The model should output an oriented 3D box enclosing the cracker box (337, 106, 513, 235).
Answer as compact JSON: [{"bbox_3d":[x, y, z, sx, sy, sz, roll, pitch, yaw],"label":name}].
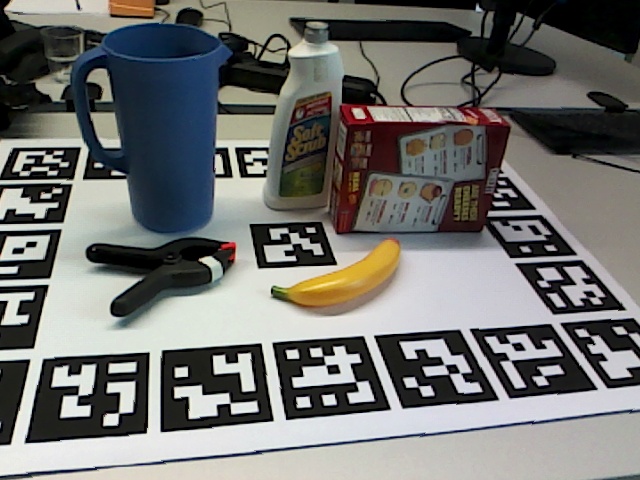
[{"bbox_3d":[0.135,-0.096,0.844,0.213,0.164,0.072,-3,31,-10],"label":"cracker box"}]

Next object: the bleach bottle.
[{"bbox_3d":[-0.029,-0.152,0.858,0.102,0.250,0.068,-3,33,-12],"label":"bleach bottle"}]

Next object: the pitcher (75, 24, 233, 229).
[{"bbox_3d":[-0.201,-0.137,0.775,0.188,0.242,0.134,-13,36,-30],"label":"pitcher"}]

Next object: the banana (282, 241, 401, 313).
[{"bbox_3d":[0.047,0.047,0.767,0.075,0.039,0.196,30,40,34],"label":"banana"}]

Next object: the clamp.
[{"bbox_3d":[-0.172,0.039,0.736,0.164,0.036,0.123,-12,35,-27],"label":"clamp"}]
